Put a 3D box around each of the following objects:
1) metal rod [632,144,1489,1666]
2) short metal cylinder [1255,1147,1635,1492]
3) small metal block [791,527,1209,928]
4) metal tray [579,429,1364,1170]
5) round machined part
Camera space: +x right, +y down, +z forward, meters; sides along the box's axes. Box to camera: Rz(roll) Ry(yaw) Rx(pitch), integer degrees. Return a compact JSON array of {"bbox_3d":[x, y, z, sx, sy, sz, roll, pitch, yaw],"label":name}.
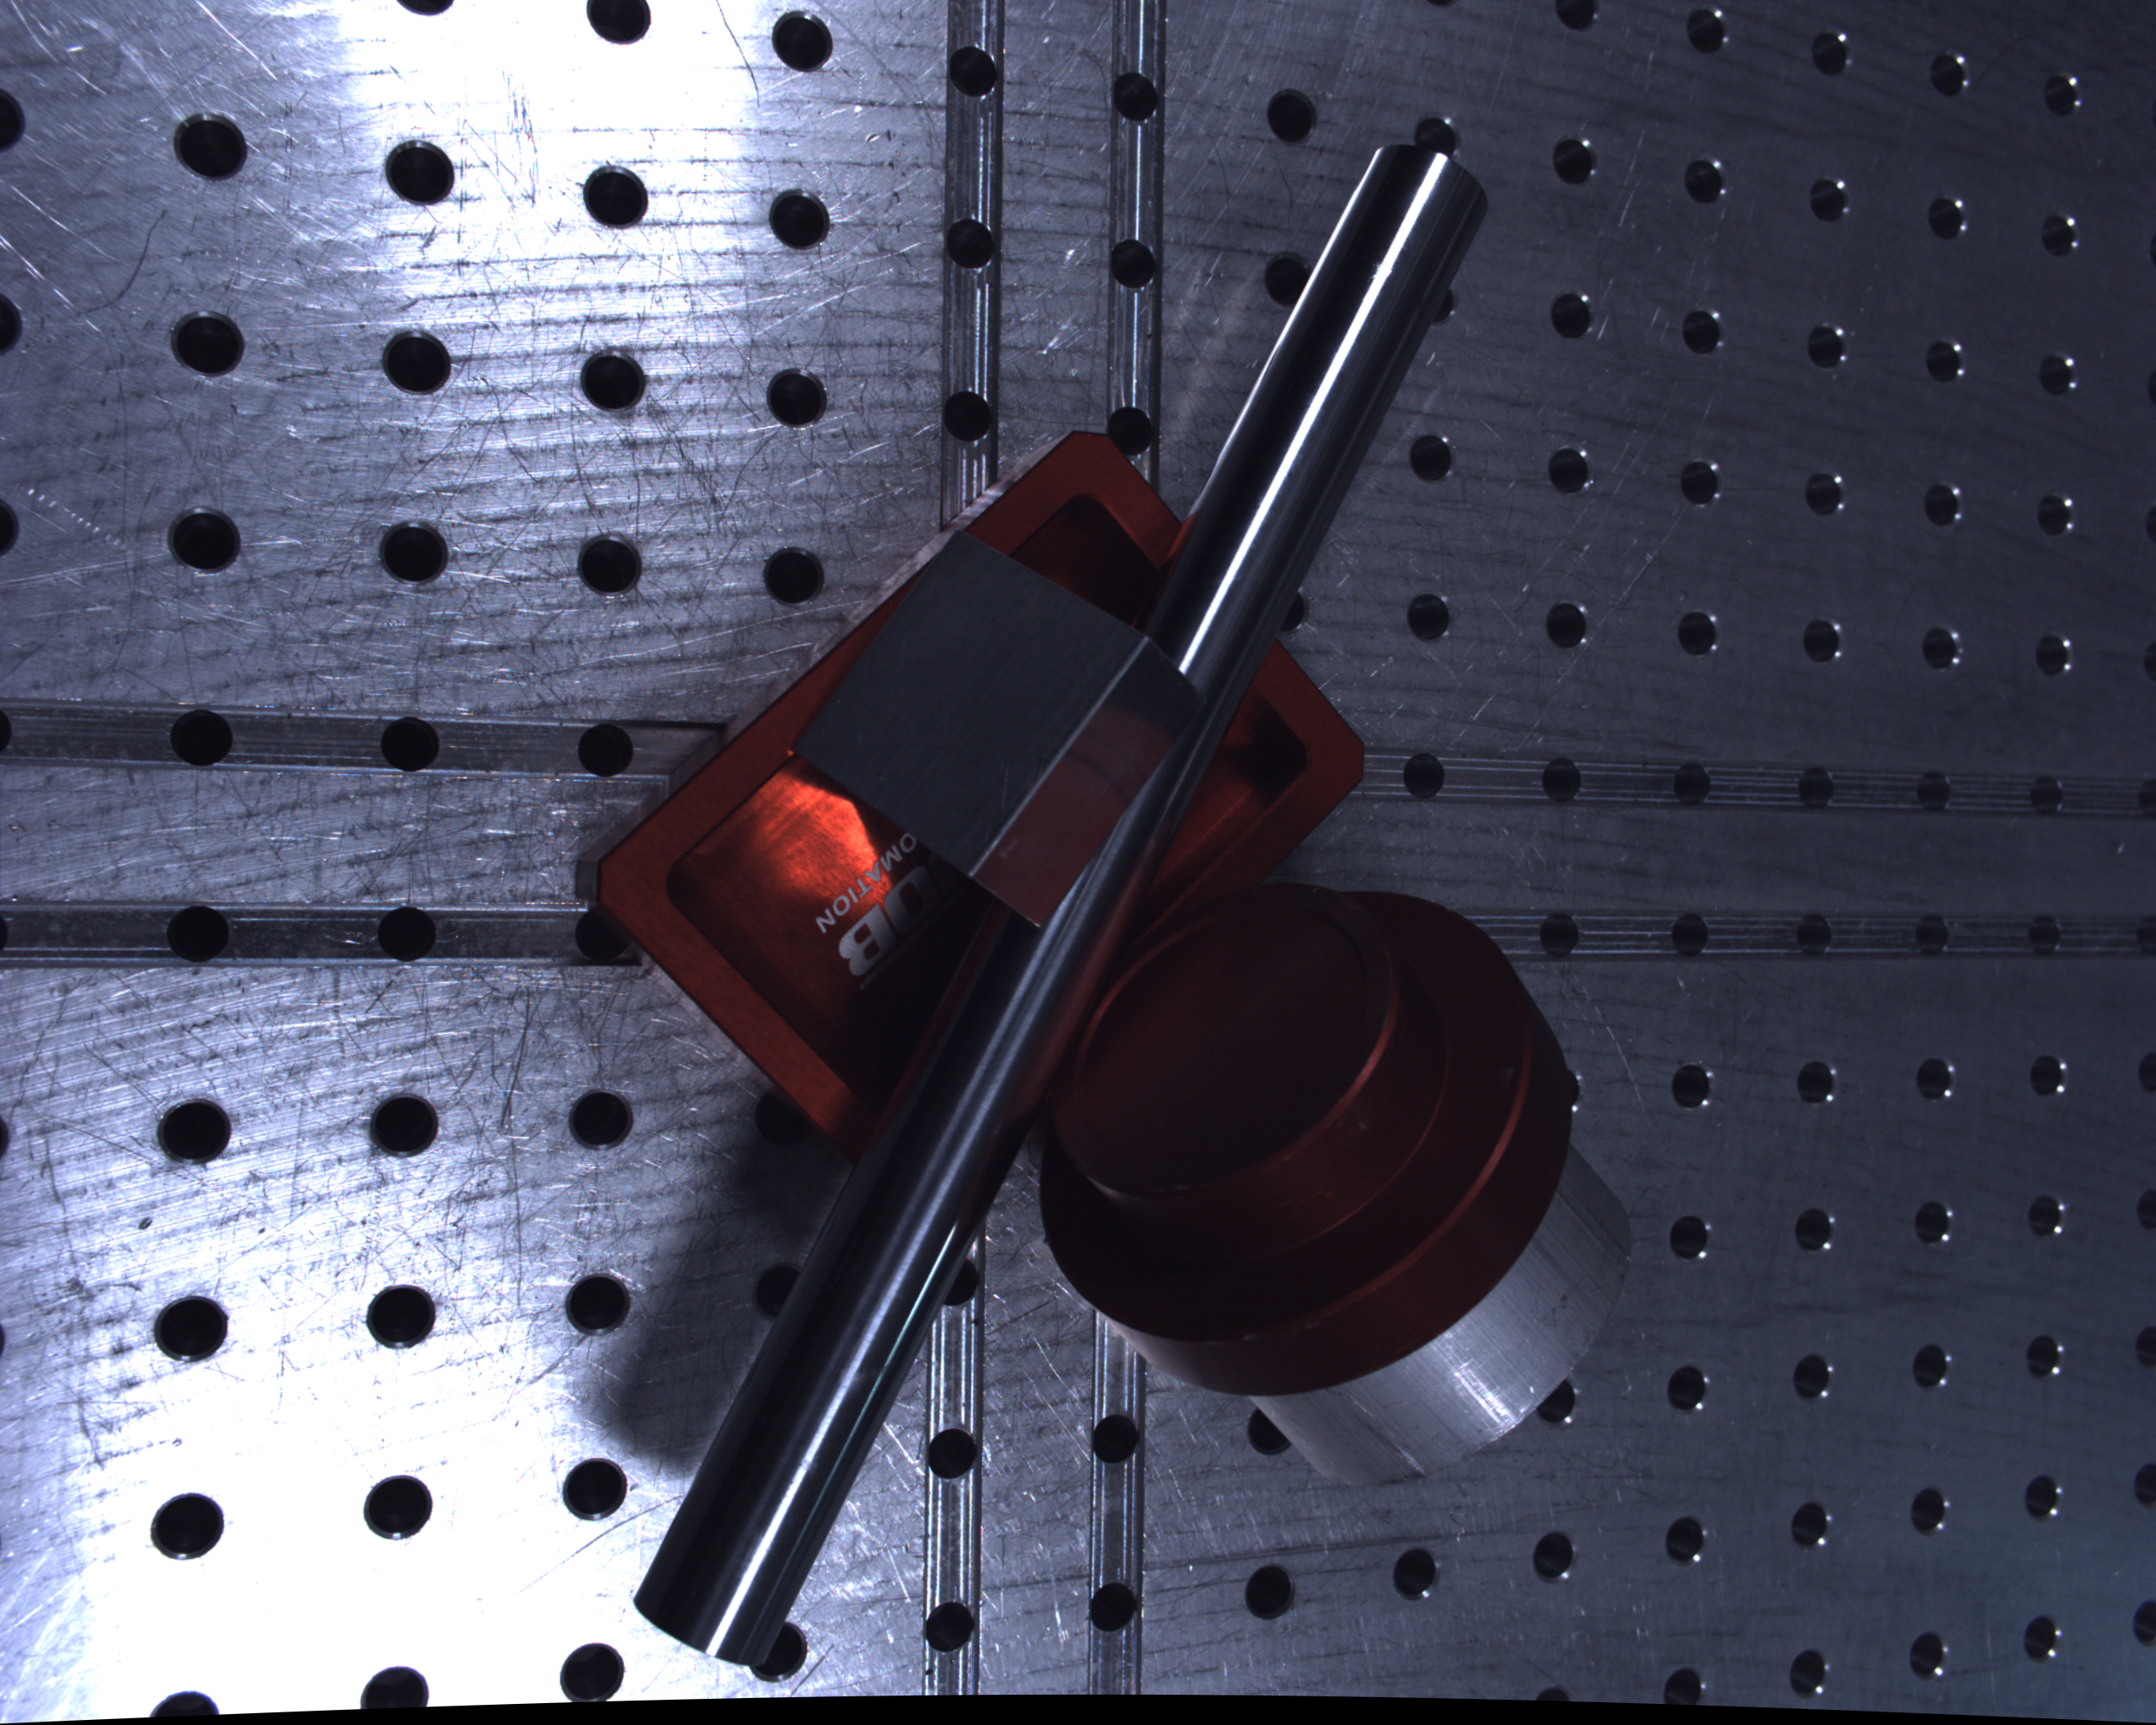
[{"bbox_3d":[0.002,0.000,0.382,0.025,0.025,0.299,30,80,-18],"label":"metal rod"},{"bbox_3d":[0.059,0.074,0.405,0.080,0.080,0.050,-45,105,-15],"label":"short metal cylinder"},{"bbox_3d":[-0.014,-0.025,0.372,0.050,0.050,0.025,-54,145,-3],"label":"small metal block"},{"bbox_3d":[-0.018,-0.009,0.403,0.130,0.030,0.090,-45,104,-15],"label":"metal tray"},{"bbox_3d":[0.035,0.043,0.377,0.098,0.098,0.042,-48,127,-14],"label":"round machined part"}]
